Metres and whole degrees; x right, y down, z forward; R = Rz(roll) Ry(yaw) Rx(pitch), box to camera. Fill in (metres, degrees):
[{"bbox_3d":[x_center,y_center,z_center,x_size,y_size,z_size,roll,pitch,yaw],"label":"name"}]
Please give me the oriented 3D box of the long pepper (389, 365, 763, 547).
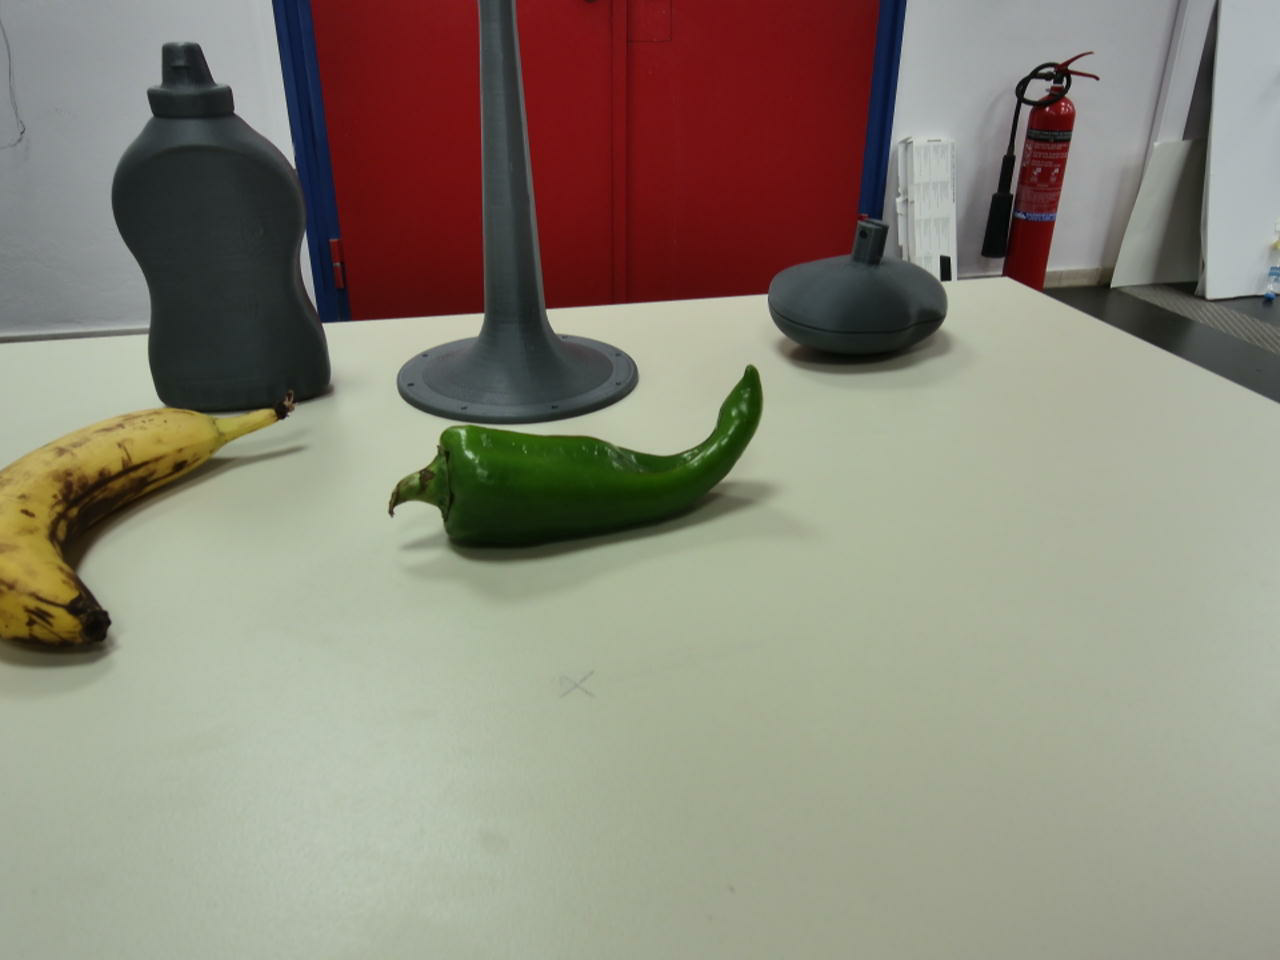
[{"bbox_3d":[-0.024,-0.010,0.446,0.175,0.065,0.058,-6,25,-14],"label":"long pepper"}]
